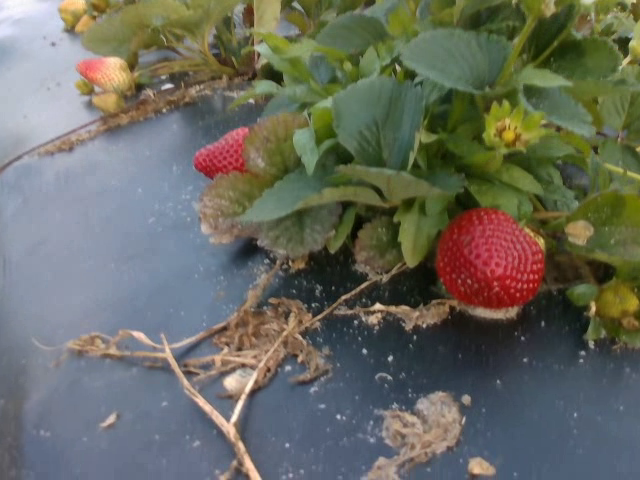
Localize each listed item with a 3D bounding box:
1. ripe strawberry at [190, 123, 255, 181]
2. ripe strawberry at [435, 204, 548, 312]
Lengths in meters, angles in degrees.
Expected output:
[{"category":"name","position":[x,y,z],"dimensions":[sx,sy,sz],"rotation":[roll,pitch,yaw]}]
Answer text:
[{"category":"ripe strawberry","position":[-0.047,-0.043,0.344],"dimensions":[0.050,0.043,0.043],"rotation":[-12,35,-13]},{"category":"ripe strawberry","position":[0.063,0.006,0.235],"dimensions":[0.043,0.047,0.046],"rotation":[-23,9,14]}]
